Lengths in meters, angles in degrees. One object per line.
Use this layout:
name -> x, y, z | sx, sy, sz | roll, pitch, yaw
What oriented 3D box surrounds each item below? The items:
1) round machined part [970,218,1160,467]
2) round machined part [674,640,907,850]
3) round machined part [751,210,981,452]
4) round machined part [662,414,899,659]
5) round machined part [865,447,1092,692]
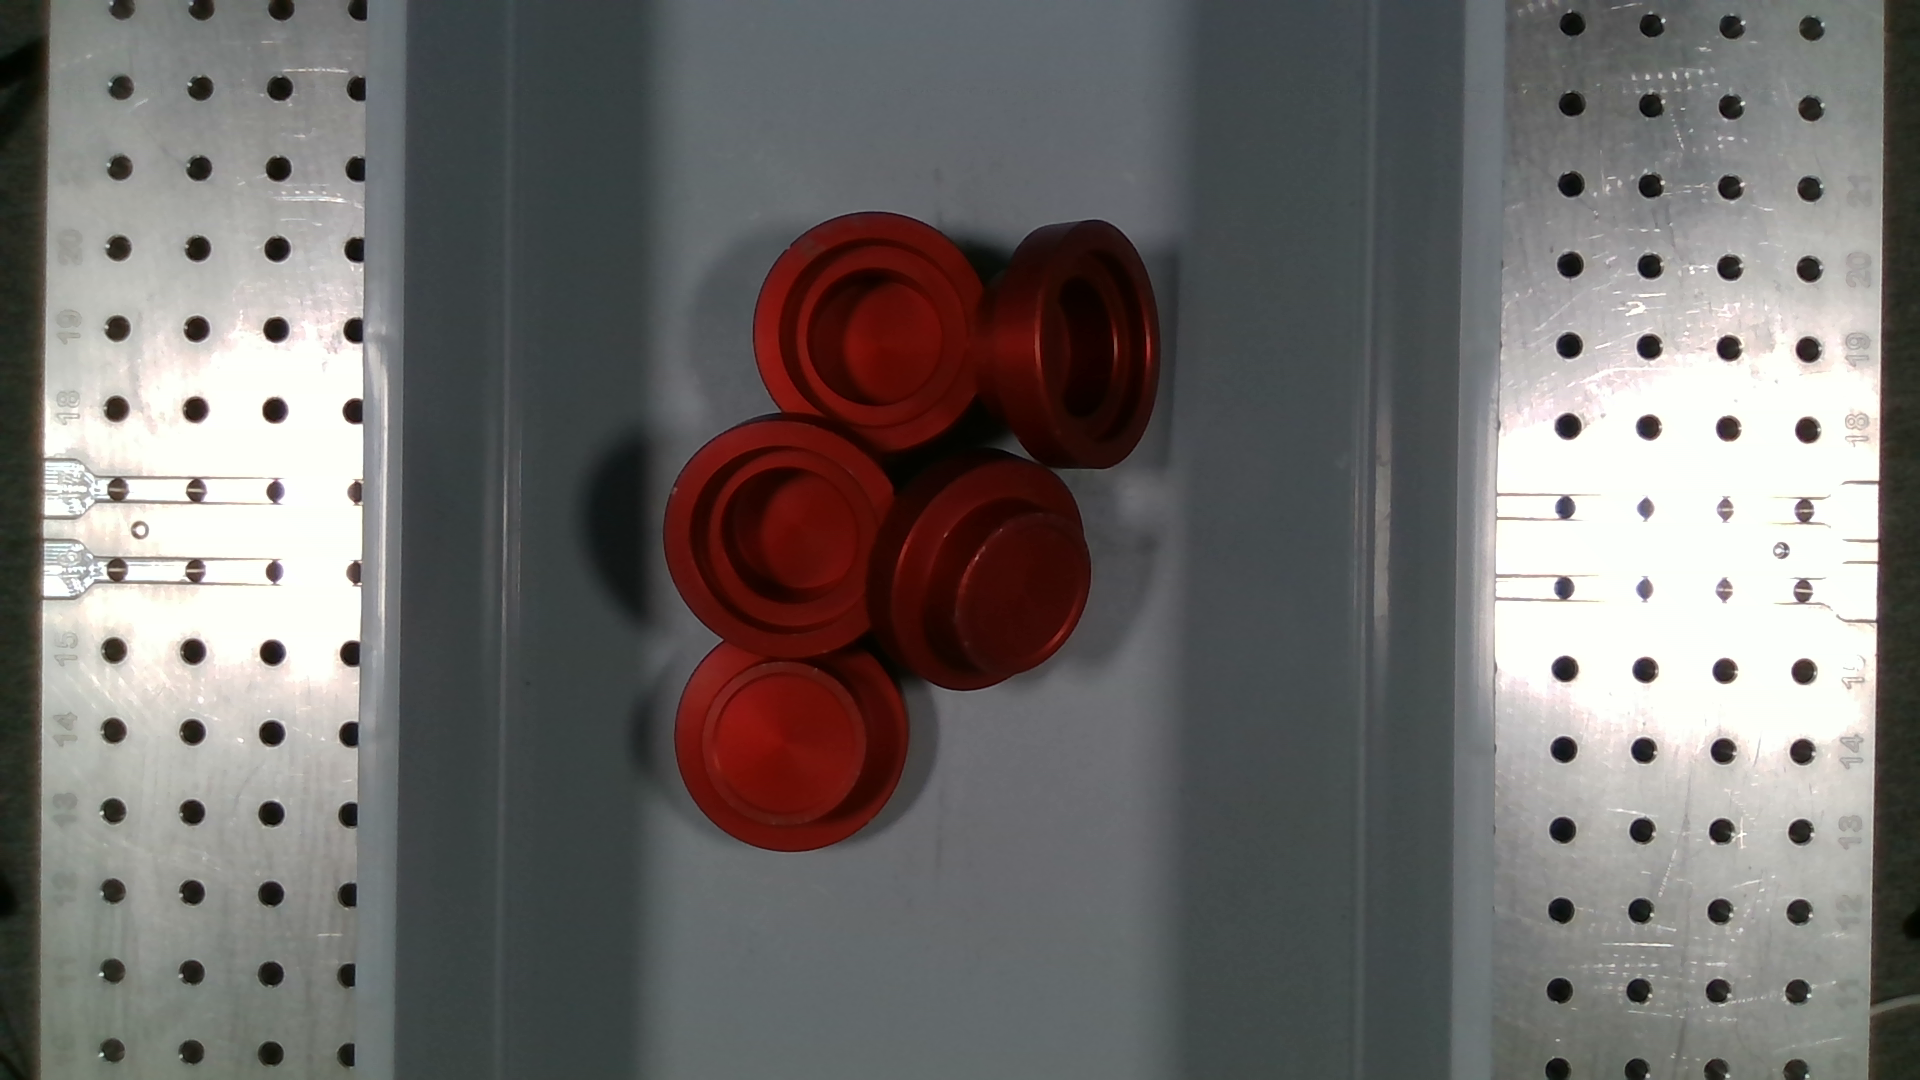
round machined part -> 0.040, -0.079, 0.559 | 0.042, 0.098, 0.098 | 3, 90, 35
round machined part -> -0.071, 0.082, 0.577 | 0.098, 0.042, 0.098 | 0, 90, 0
round machined part -> -0.035, -0.084, 0.576 | 0.098, 0.042, 0.098 | 0, 90, 0
round machined part -> -0.069, -0.004, 0.565 | 0.098, 0.042, 0.098 | 1, 103, 6
round machined part -> 0.014, 0.015, 0.550 | 0.098, 0.042, 0.098 | -16, 116, -34
